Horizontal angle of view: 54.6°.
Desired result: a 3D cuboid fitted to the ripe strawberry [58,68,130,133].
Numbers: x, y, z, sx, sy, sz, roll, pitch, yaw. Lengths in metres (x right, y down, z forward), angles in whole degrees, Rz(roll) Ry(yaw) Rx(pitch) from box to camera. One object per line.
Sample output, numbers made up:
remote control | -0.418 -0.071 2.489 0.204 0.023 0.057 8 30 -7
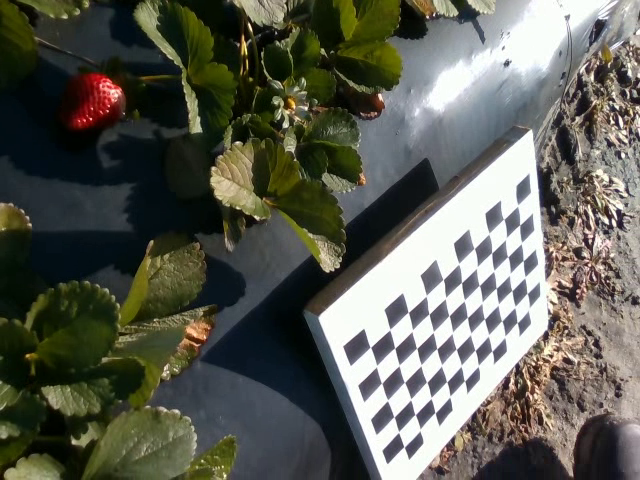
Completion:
ripe strawberry | -0.146 -0.086 0.392 0.045 0.056 0.041 5 -42 28
